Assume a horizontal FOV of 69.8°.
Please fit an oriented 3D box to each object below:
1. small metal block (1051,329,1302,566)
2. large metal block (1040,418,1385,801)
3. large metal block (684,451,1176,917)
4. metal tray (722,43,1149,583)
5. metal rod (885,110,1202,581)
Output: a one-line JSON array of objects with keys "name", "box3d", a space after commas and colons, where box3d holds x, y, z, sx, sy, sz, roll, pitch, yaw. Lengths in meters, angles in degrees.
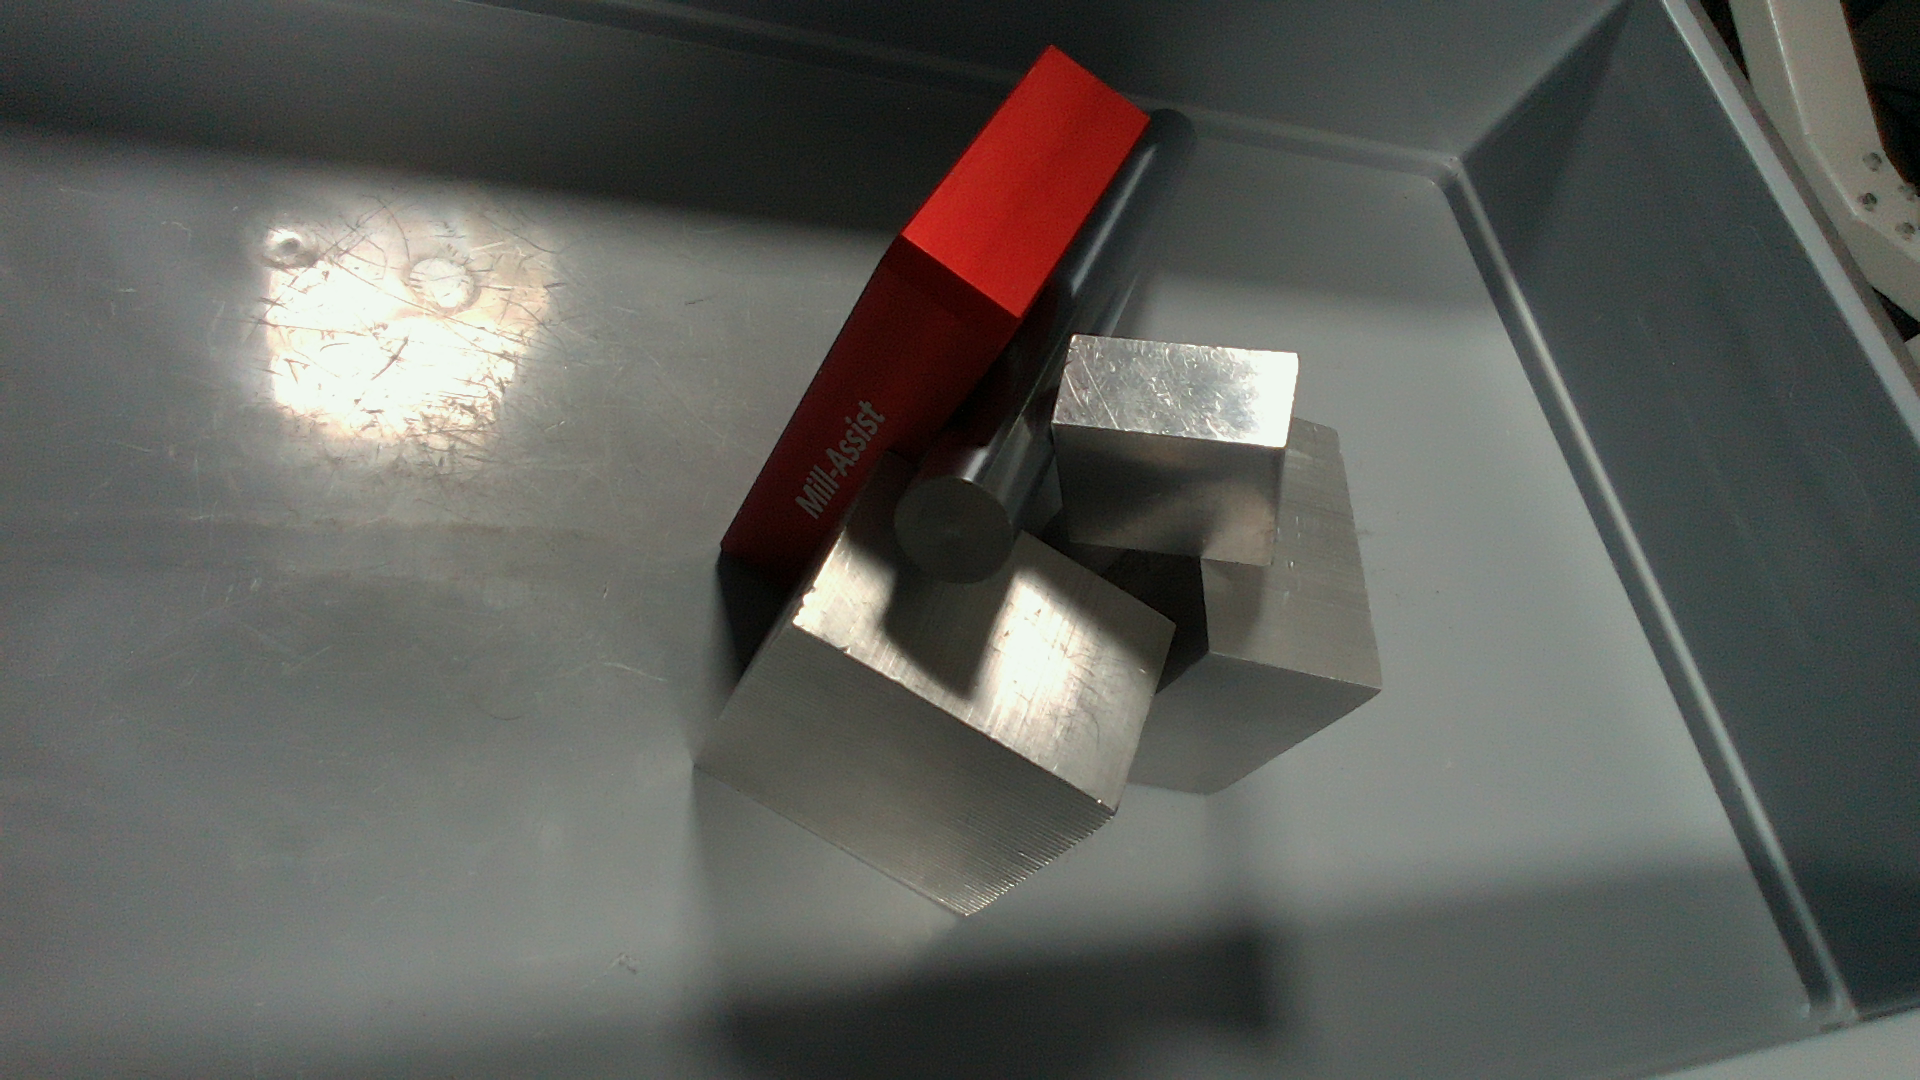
[{"name": "small metal block", "box3d": [0.050, -0.020, 0.316, 0.050, 0.050, 0.025, 8, 61, 14]}, {"name": "large metal block", "box3d": [0.064, 0.017, 0.378, 0.050, 0.080, 0.080, 13, 56, -21]}, {"name": "large metal block", "box3d": [-0.009, 0.038, 0.327, 0.080, 0.080, 0.050, 32, 51, -7]}, {"name": "metal tray", "box3d": [-0.010, -0.049, 0.345, 0.030, 0.130, 0.090, 34, 52, -4]}, {"name": "metal rod", "box3d": [0.038, -0.077, 0.398, 0.025, 0.025, 0.301, 36, 34, -4]}]
